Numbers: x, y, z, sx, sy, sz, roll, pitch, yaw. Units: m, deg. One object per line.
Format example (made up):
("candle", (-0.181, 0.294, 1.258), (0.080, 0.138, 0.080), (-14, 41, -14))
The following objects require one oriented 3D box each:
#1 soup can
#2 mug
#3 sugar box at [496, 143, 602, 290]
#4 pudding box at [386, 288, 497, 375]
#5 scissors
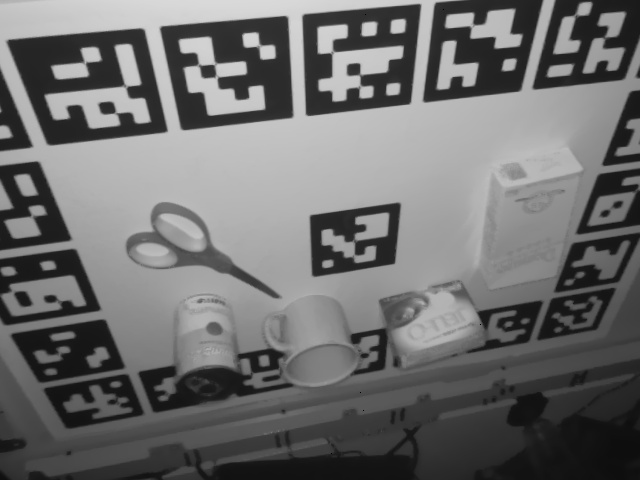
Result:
("soup can", (-0.119, 0.115, 0.769), (0.068, 0.102, 0.067), (-8, 132, -8))
("mug", (-0.004, 0.128, 0.814), (0.092, 0.081, 0.118), (-37, 130, 14))
("sugar box", (0.254, -0.019, 0.788), (0.093, 0.045, 0.175), (-12, 130, -7))
("pudding box", (0.144, 0.112, 0.830), (0.114, 0.090, 0.038), (-15, 125, -1))
("scissors", (-0.104, 0.018, 0.736), (0.204, 0.016, 0.087), (35, 104, -34))
